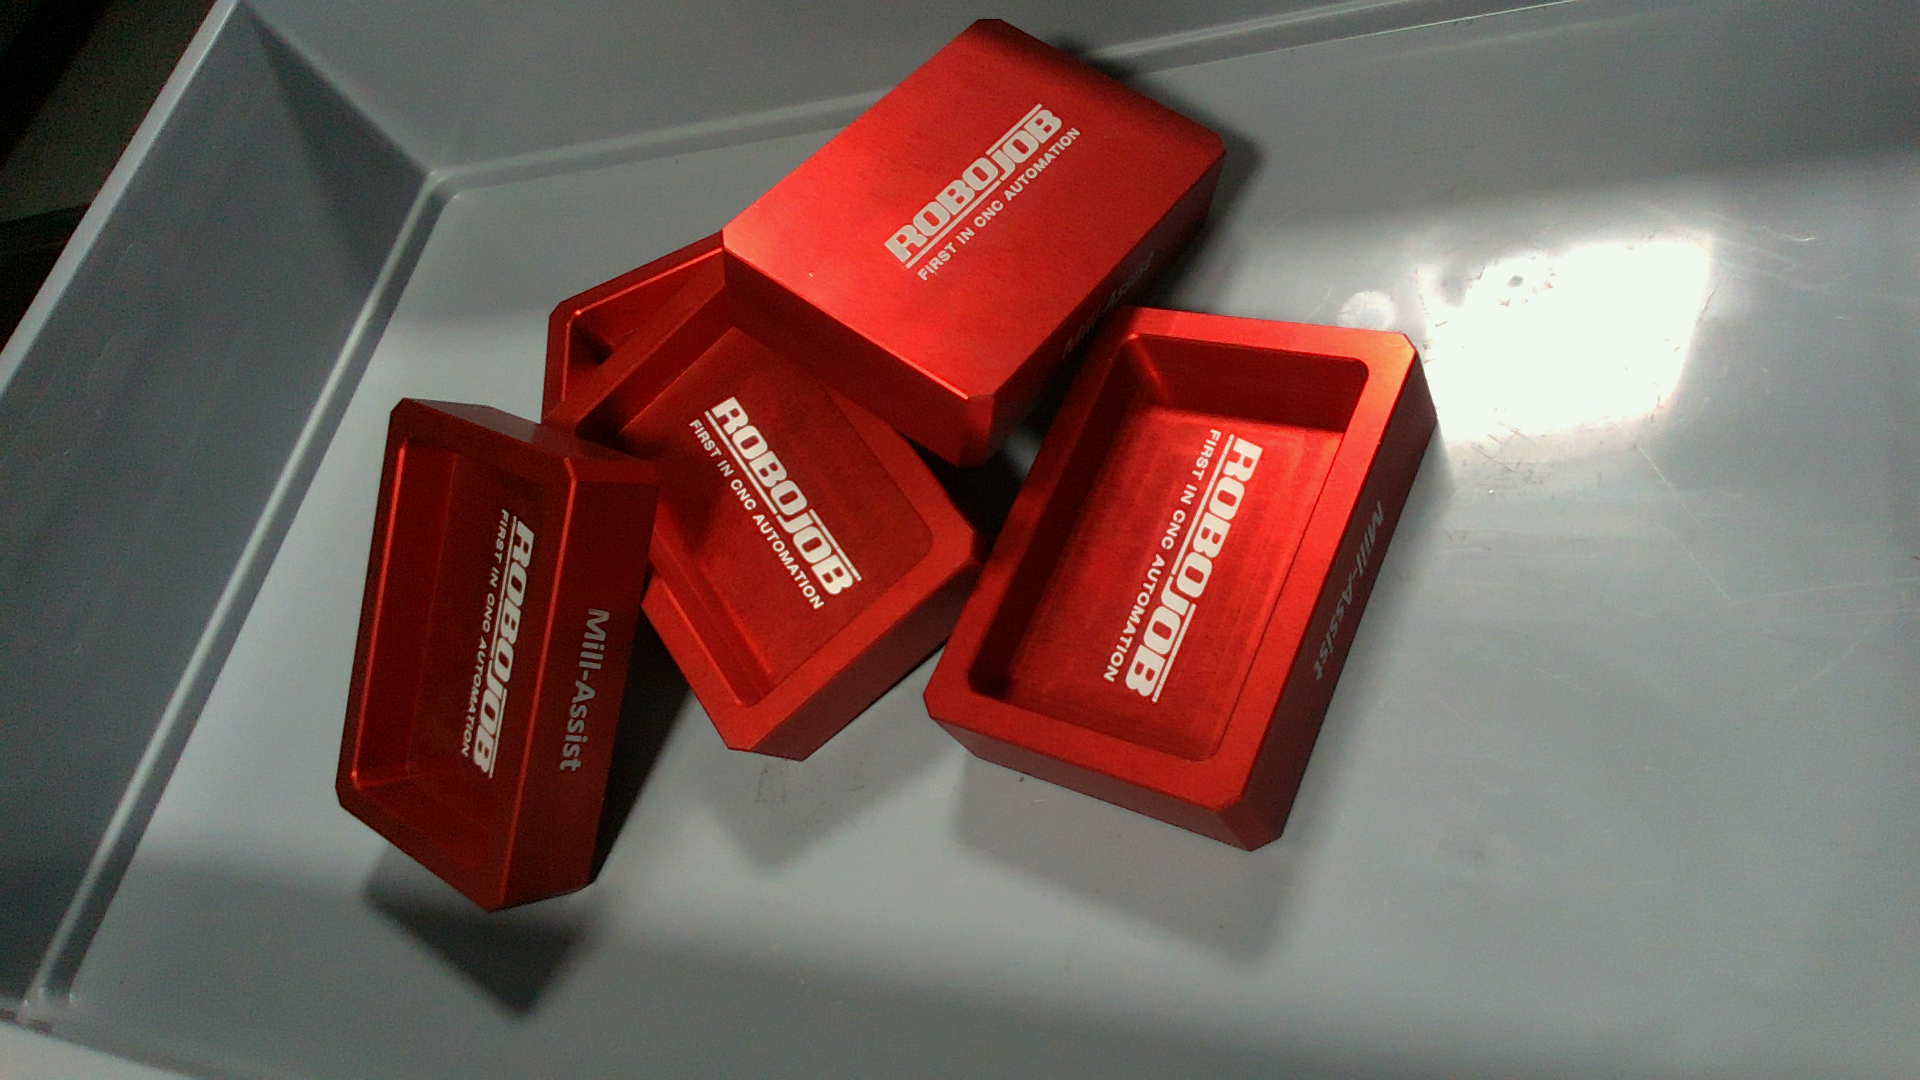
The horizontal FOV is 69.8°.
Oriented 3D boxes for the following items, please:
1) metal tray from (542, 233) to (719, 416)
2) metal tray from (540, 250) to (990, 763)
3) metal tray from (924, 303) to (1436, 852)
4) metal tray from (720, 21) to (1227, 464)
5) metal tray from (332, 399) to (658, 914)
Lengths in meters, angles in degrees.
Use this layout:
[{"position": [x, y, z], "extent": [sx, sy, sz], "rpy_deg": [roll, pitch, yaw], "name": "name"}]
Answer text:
[{"position": [-0.081, -0.062, 0.471], "extent": [0.130, 0.030, 0.090], "rpy_deg": [-19, 54, 17], "name": "metal tray"}, {"position": [-0.058, -0.013, 0.400], "extent": [0.090, 0.030, 0.130], "rpy_deg": [-41, 65, 9], "name": "metal tray"}, {"position": [0.058, 0.003, 0.356], "extent": [0.090, 0.030, 0.130], "rpy_deg": [13, 68, 34], "name": "metal tray"}, {"position": [0.006, -0.091, 0.397], "extent": [0.090, 0.030, 0.130], "rpy_deg": [33, 59, 15], "name": "metal tray"}, {"position": [-0.141, 0.031, 0.408], "extent": [0.090, 0.030, 0.130], "rpy_deg": [18, 100, 36], "name": "metal tray"}]
